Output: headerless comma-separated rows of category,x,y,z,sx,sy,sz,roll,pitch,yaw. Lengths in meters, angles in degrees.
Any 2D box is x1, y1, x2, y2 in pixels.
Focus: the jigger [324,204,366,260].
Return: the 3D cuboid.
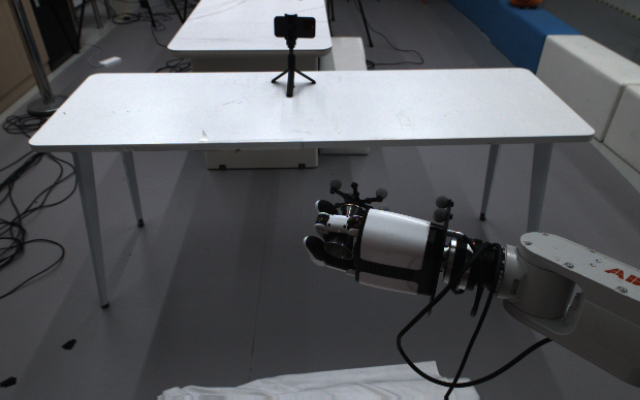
jigger,0.040,0.043,0.678,0.043,0.043,0.071,13,57,15
